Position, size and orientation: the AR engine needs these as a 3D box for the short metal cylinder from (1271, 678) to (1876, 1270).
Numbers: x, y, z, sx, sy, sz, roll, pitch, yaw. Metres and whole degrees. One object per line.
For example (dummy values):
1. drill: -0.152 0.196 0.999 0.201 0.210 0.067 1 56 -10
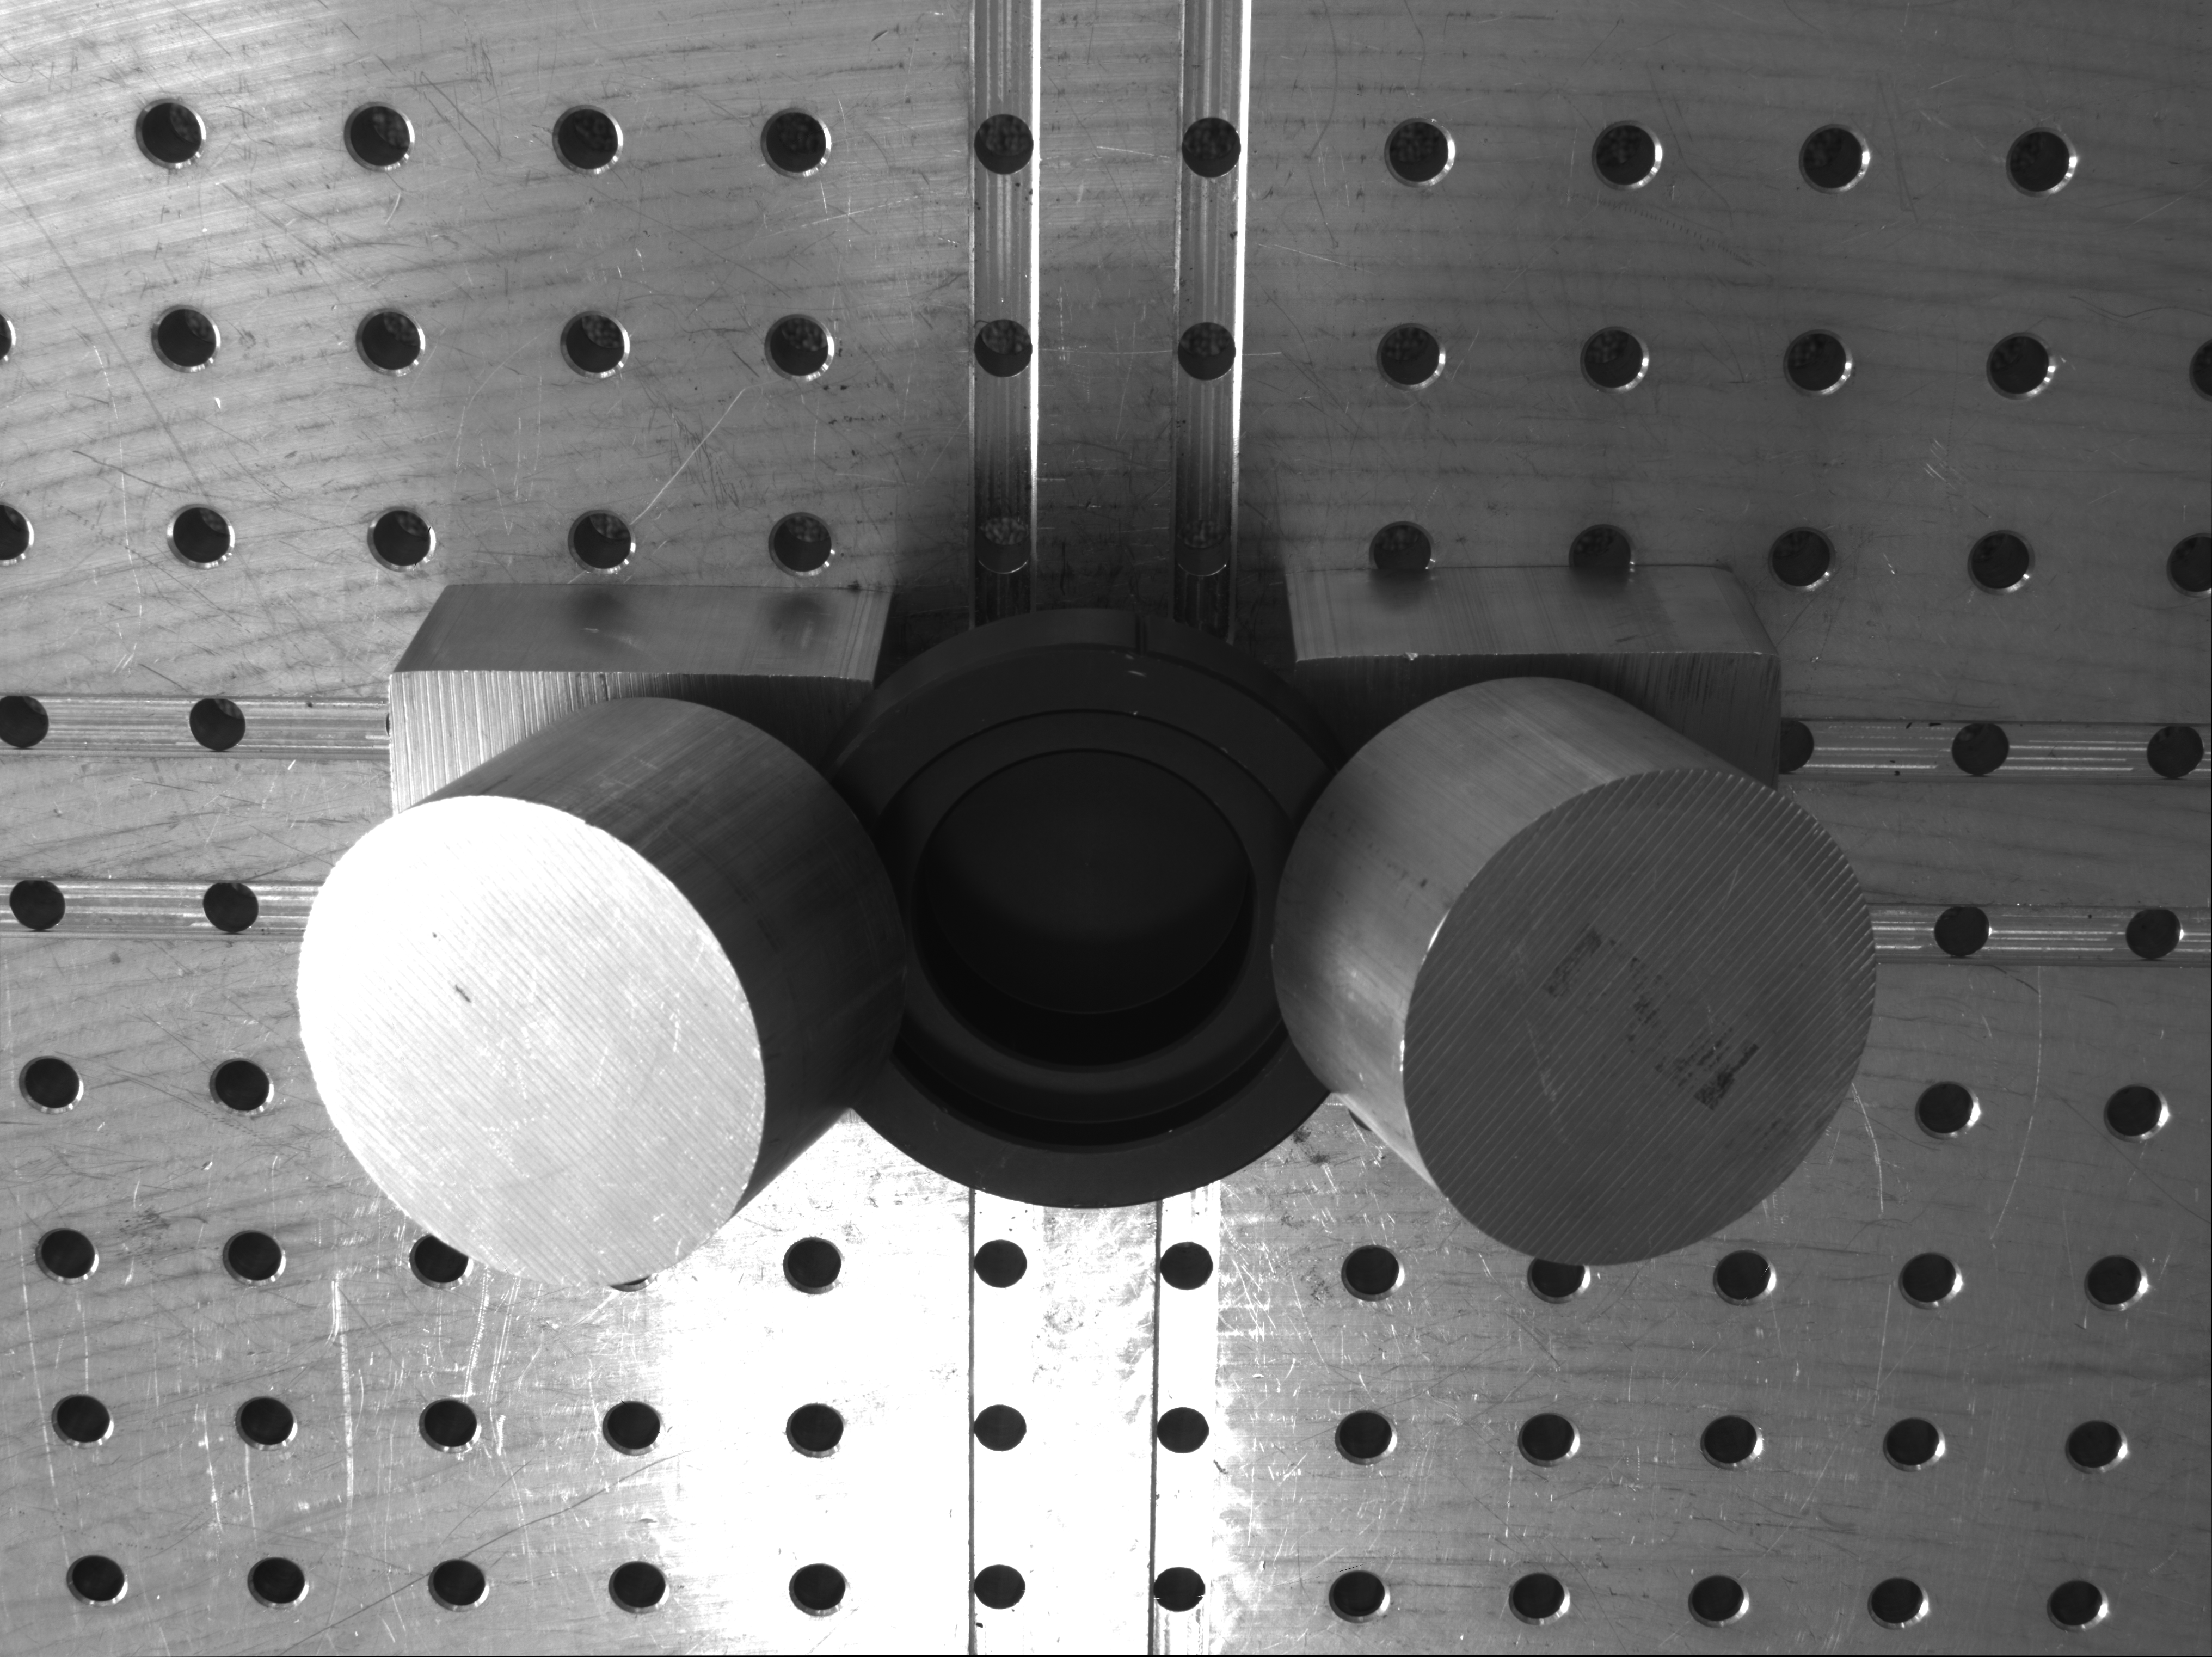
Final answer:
1. short metal cylinder: 0.072 0.022 0.574 0.080 0.050 0.080 -7 111 -19

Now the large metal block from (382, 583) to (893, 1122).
1. large metal block: -0.078 0.004 0.634 0.080 0.050 0.080 1 110 0

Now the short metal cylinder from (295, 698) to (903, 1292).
1. short metal cylinder: -0.079 0.025 0.575 0.080 0.050 0.080 8 112 20

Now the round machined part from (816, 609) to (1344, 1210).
1. round machined part: -0.004 0.010 0.609 0.098 0.042 0.098 0 110 0

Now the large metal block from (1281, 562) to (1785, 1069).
1. large metal block: 0.071 0.000 0.633 0.080 0.050 0.080 -1 110 0
